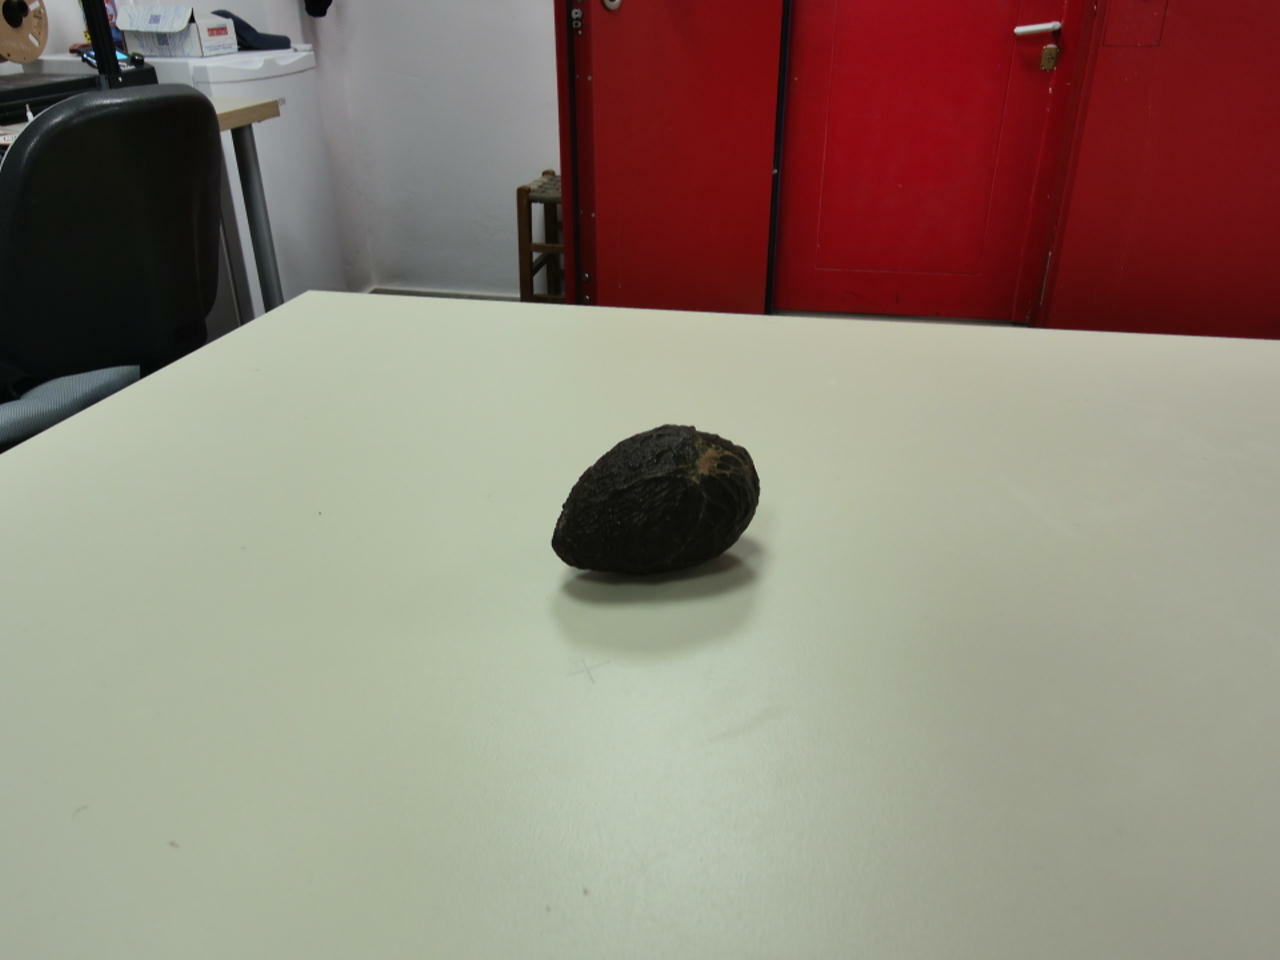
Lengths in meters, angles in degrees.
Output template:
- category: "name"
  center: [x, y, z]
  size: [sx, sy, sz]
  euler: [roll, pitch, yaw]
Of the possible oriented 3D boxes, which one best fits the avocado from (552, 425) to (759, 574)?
- category: "avocado"
  center: [0.007, 0.009, 0.430]
  size: [0.092, 0.062, 0.062]
  euler: [-5, 25, -10]
